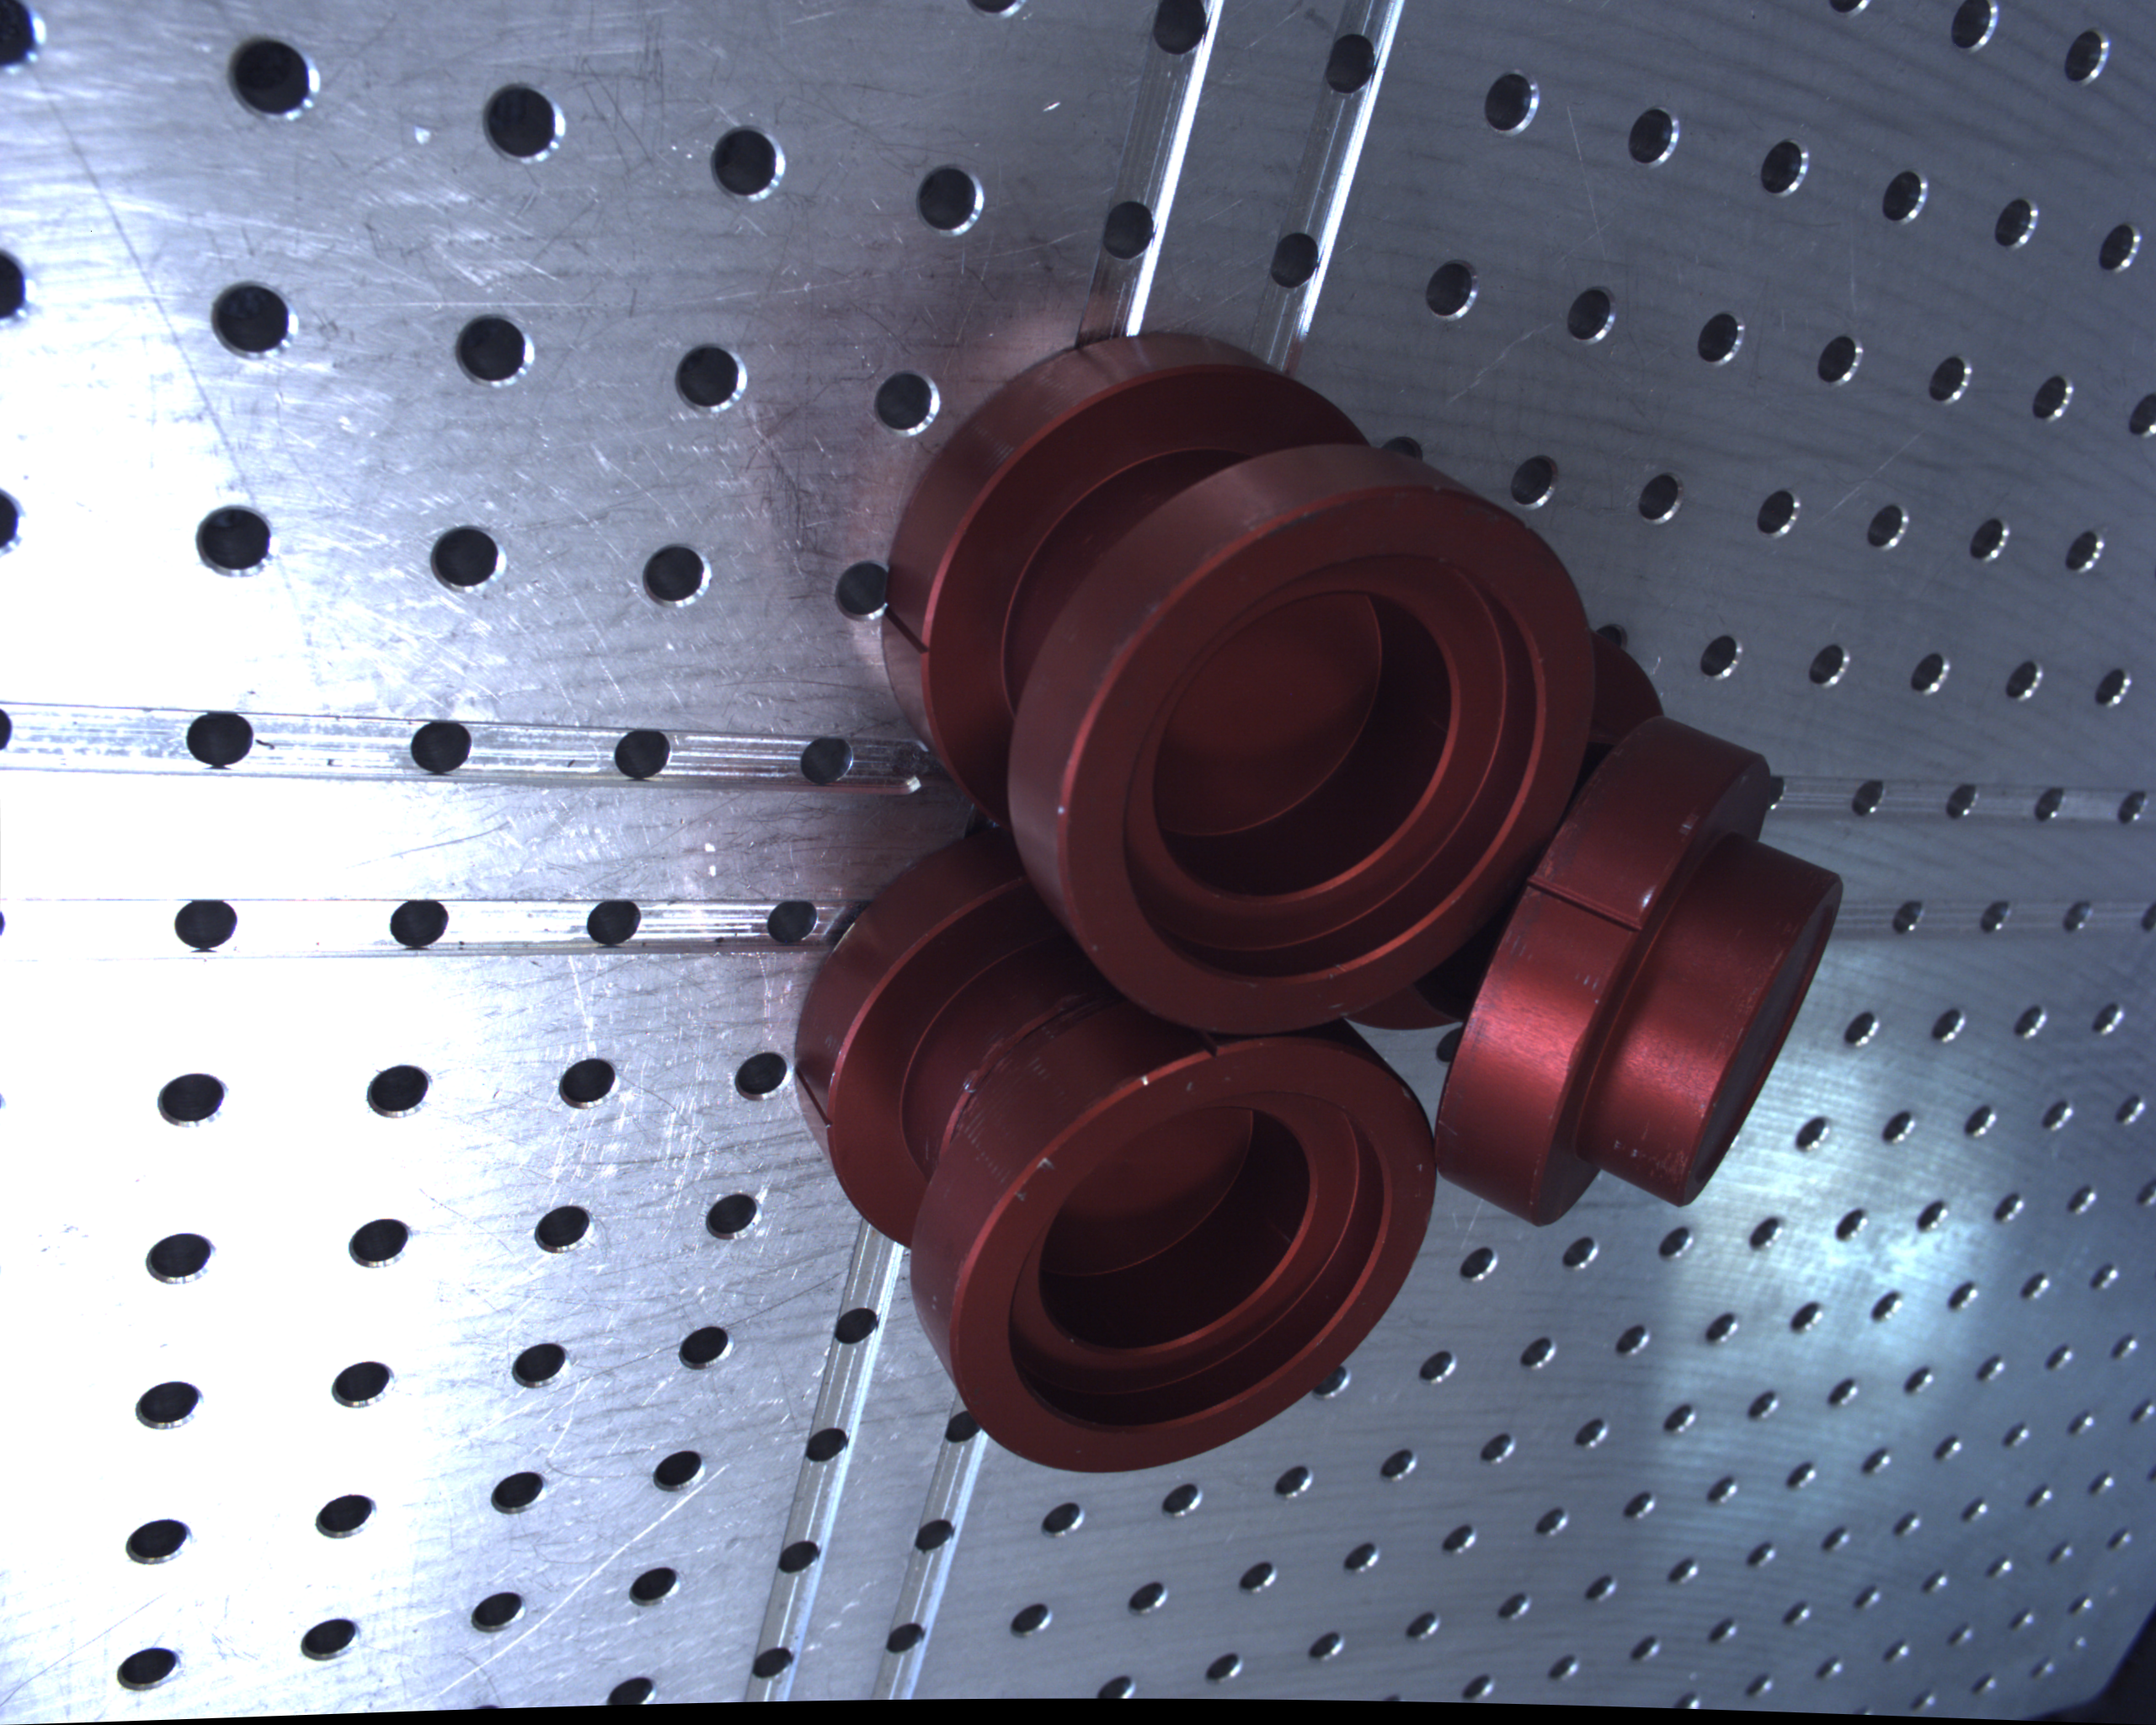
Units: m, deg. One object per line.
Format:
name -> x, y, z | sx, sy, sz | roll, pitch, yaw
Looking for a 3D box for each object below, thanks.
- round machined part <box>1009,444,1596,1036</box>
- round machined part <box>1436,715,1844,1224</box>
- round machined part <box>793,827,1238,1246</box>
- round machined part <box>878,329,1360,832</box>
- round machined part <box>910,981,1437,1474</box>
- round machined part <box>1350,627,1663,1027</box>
round machined part -> 0.033, -0.023, 0.348 | 0.099, 0.042, 0.097 | -14, 124, -21
round machined part -> 0.109, 0.025, 0.392 | 0.098, 0.042, 0.097 | -45, 150, -36
round machined part -> -0.004, 0.043, 0.424 | 0.099, 0.042, 0.097 | -14, 124, -21
round machined part -> 0.017, -0.044, 0.383 | 0.099, 0.042, 0.097 | -14, 124, -21
round machined part -> 0.014, 0.063, 0.391 | 0.099, 0.042, 0.097 | -14, 124, -21
round machined part -> 0.086, -0.006, 0.443 | 0.099, 0.042, 0.097 | -14, 124, -21
